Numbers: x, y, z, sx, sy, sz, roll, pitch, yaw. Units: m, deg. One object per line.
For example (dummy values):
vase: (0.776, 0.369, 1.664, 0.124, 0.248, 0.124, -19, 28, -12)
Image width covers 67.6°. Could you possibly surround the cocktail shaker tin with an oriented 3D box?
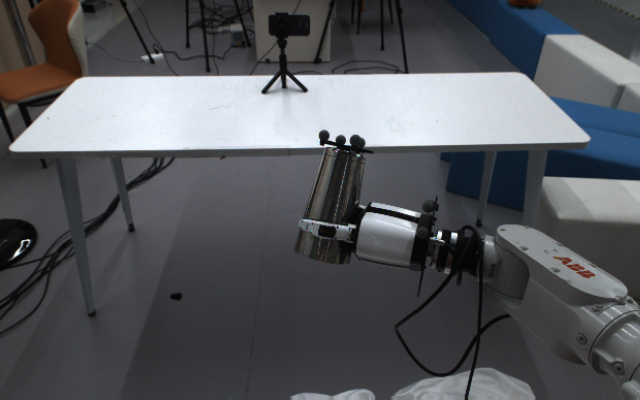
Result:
cocktail shaker tin: (0.021, 0.006, 0.770, 0.093, 0.170, 0.093, 13, 5, -1)
